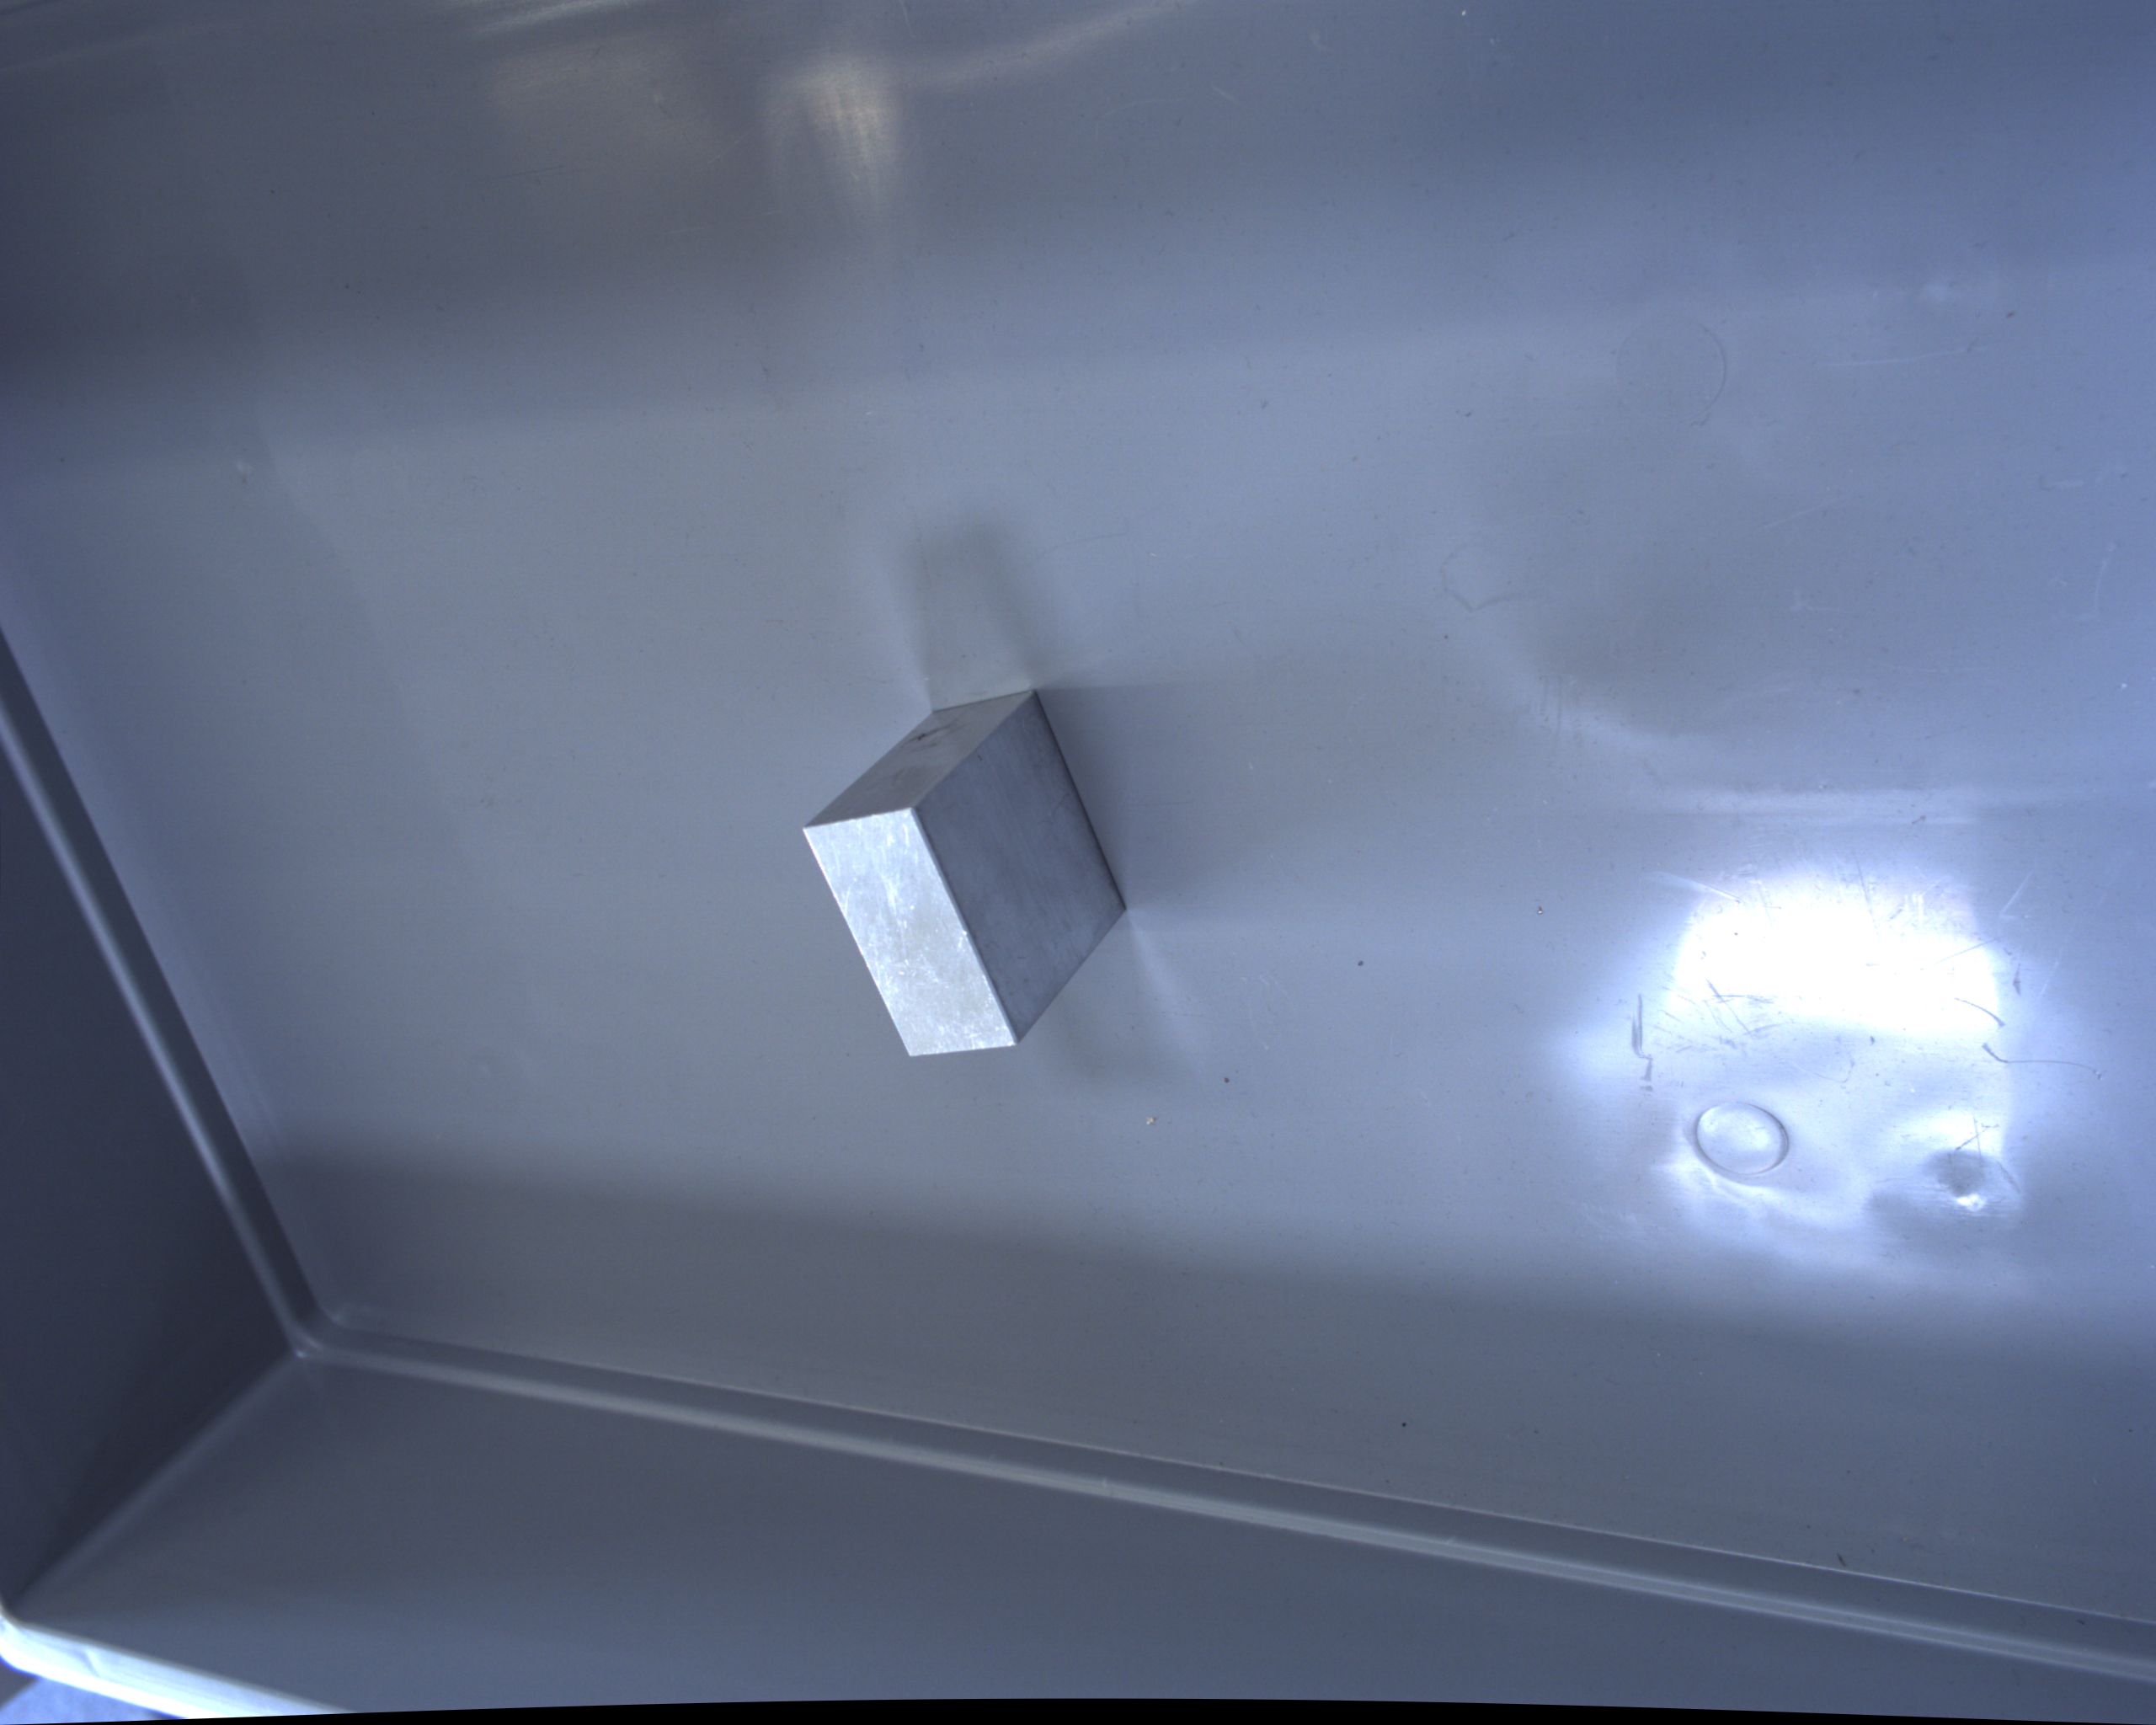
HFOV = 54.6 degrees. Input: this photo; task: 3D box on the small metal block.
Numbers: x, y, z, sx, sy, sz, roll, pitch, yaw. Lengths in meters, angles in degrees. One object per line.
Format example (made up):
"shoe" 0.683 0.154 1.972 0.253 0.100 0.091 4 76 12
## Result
"small metal block" -0.020 0.002 0.400 0.025 0.050 0.050 -9 113 32
